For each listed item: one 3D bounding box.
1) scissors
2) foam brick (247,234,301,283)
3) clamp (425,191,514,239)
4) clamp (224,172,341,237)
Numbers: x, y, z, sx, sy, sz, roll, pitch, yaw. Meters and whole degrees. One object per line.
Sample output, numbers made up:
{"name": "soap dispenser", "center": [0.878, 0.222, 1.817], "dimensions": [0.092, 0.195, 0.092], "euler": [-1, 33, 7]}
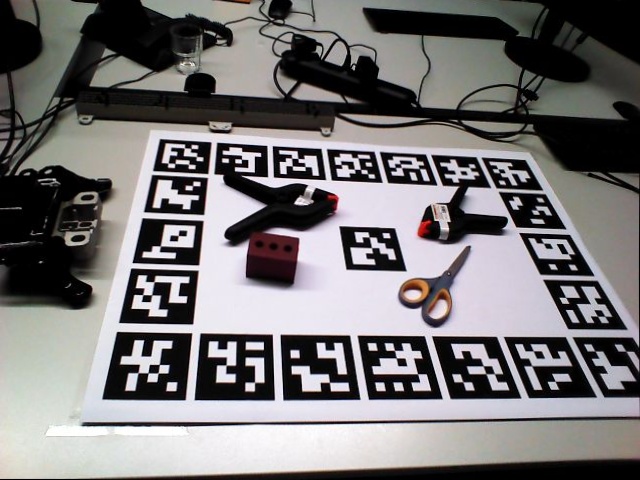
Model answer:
{"name": "scissors", "center": [0.208, 0.061, 0.837], "dimensions": [0.088, 0.016, 0.201], "euler": [36, 49, 13]}
{"name": "foam brick", "center": [-0.070, 0.029, 0.803], "dimensions": [0.078, 0.051, 0.052], "euler": [5, 48, 1]}
{"name": "clamp", "center": [0.260, -0.045, 0.942], "dimensions": [0.164, 0.037, 0.122], "euler": [-21, 60, -25]}
{"name": "clamp", "center": [-0.063, -0.066, 0.901], "dimensions": [0.203, 0.037, 0.164], "euler": [0, 44, -11]}
